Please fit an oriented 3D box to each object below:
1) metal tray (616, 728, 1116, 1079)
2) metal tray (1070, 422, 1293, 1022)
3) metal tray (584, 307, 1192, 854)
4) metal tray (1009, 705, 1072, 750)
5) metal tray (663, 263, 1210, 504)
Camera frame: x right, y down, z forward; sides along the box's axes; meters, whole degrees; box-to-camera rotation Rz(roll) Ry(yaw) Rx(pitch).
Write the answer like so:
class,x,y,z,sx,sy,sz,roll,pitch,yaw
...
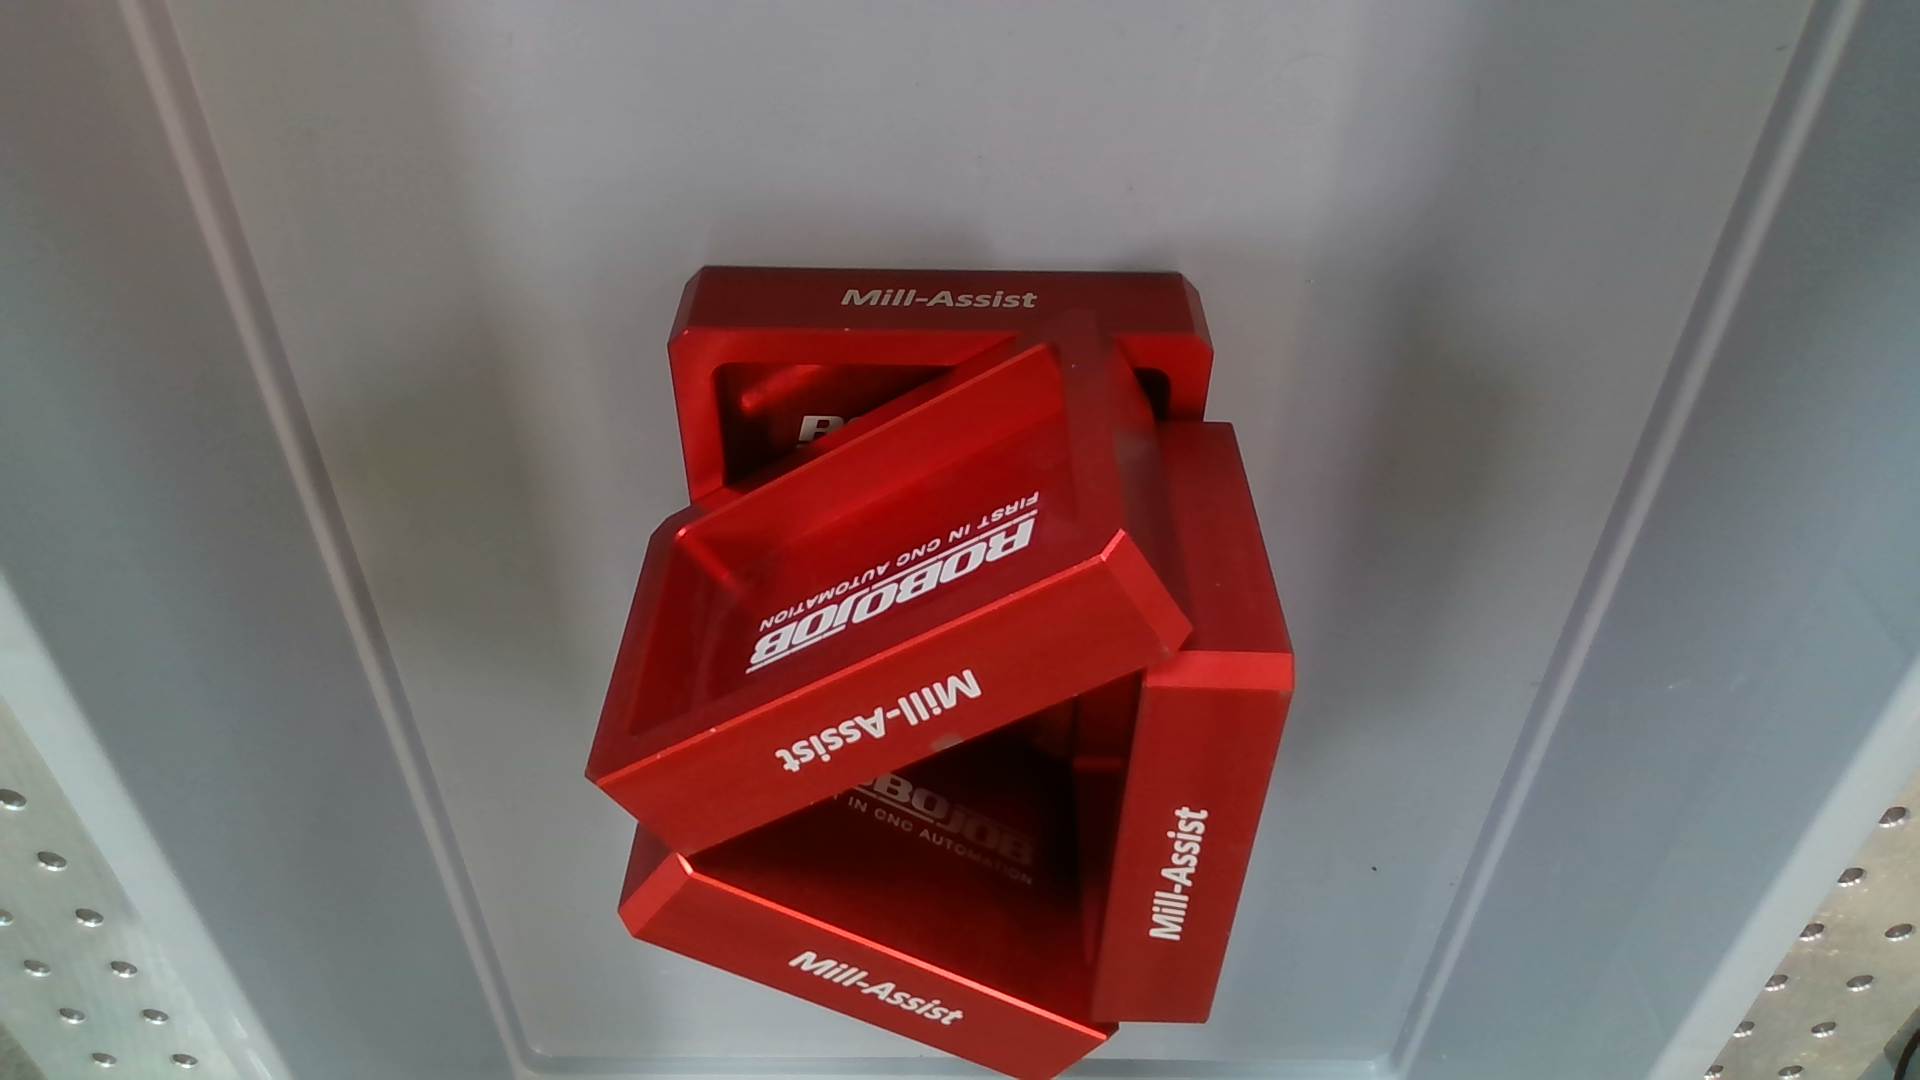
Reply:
class,x,y,z,sx,sy,sz,roll,pitch,yaw
metal tray,-0.020,0.082,0.374,0.130,0.090,0.030,29,124,-22
metal tray,0.049,0.047,0.344,0.030,0.090,0.130,2,130,-1
metal tray,-0.018,0.008,0.312,0.130,0.090,0.030,-25,125,20
metal tray,-0.008,0.045,0.423,0.130,0.030,0.090,0,130,-2
metal tray,-0.006,-0.026,0.364,0.130,0.030,0.090,0,130,-1
